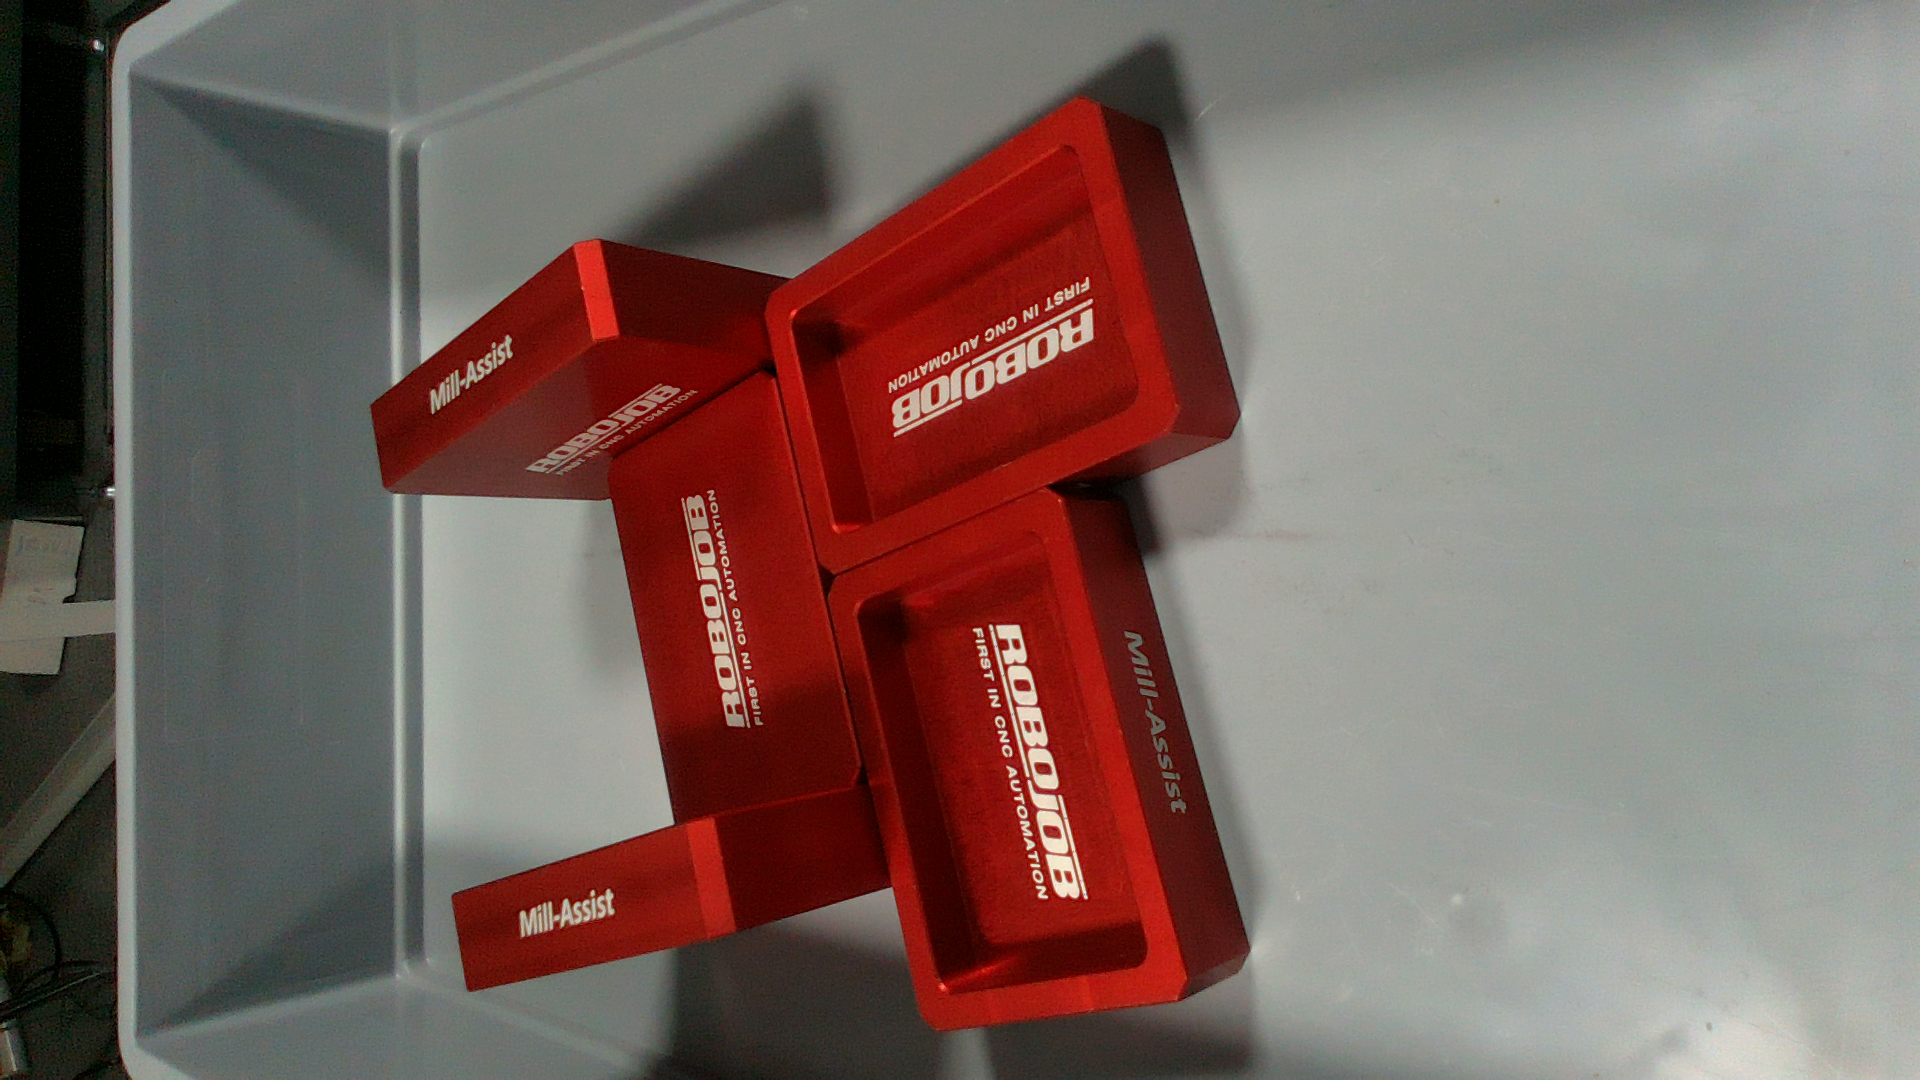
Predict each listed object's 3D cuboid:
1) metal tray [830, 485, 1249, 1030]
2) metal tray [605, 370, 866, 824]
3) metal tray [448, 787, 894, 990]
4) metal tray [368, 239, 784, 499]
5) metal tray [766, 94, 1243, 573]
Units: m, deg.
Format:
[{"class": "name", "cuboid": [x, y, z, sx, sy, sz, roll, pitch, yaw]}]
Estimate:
[{"class": "metal tray", "cuboid": [0.017, 0.060, 0.375, 0.090, 0.030, 0.130, -22, 76, 38]}, {"class": "metal tray", "cuboid": [-0.066, 0.022, 0.444, 0.090, 0.030, 0.130, -22, 76, 38]}, {"class": "metal tray", "cuboid": [-0.081, 0.104, 0.418, 0.129, 0.090, 0.030, -22, 76, 38]}, {"class": "metal tray", "cuboid": [-0.119, -0.049, 0.448, 0.129, 0.090, 0.030, -23, 75, 38]}, {"class": "metal tray", "cuboid": [0.006, -0.051, 0.385, 0.129, 0.030, 0.090, -22, 76, 38]}]
